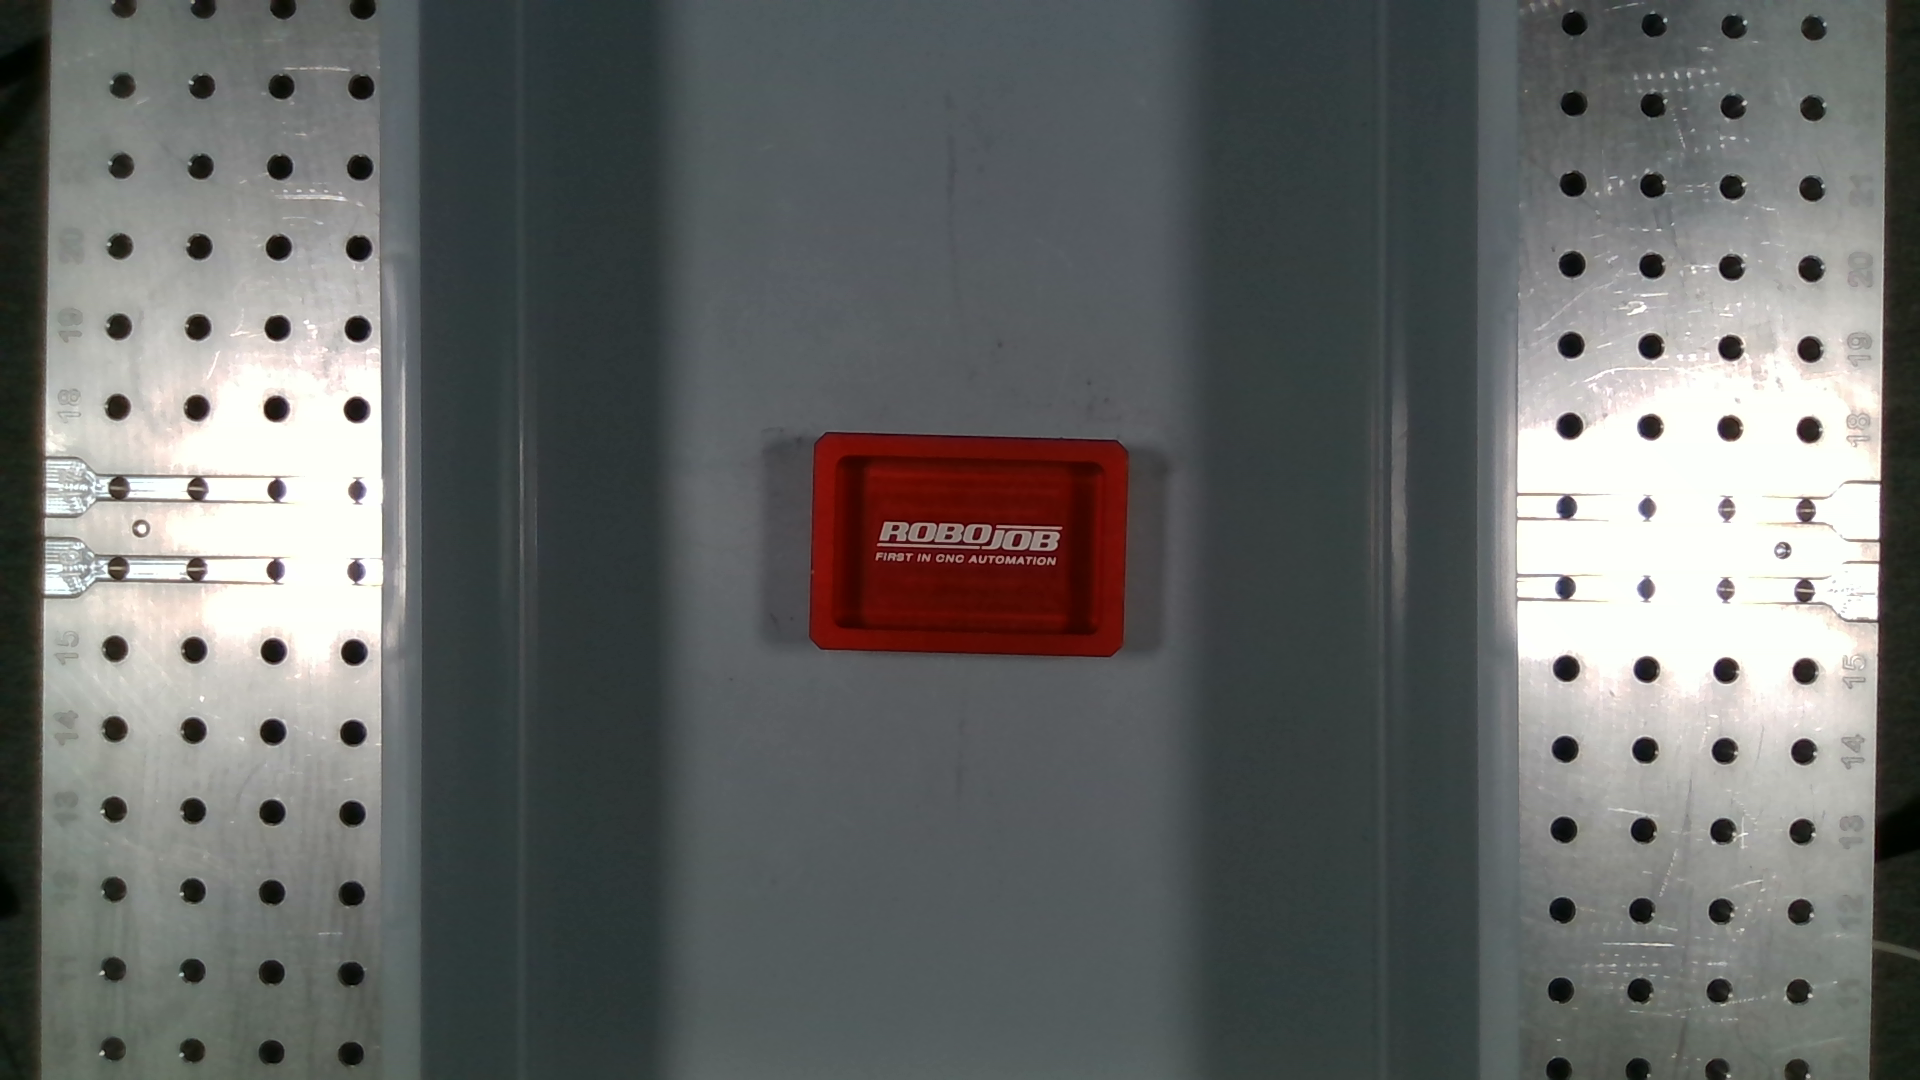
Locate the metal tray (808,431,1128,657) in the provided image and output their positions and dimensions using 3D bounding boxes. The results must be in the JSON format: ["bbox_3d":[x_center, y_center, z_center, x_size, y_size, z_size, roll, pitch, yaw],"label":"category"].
[{"bbox_3d":[0.003,0.002,0.582,0.130,0.030,0.090,2,91,0],"label":"metal tray"}]
